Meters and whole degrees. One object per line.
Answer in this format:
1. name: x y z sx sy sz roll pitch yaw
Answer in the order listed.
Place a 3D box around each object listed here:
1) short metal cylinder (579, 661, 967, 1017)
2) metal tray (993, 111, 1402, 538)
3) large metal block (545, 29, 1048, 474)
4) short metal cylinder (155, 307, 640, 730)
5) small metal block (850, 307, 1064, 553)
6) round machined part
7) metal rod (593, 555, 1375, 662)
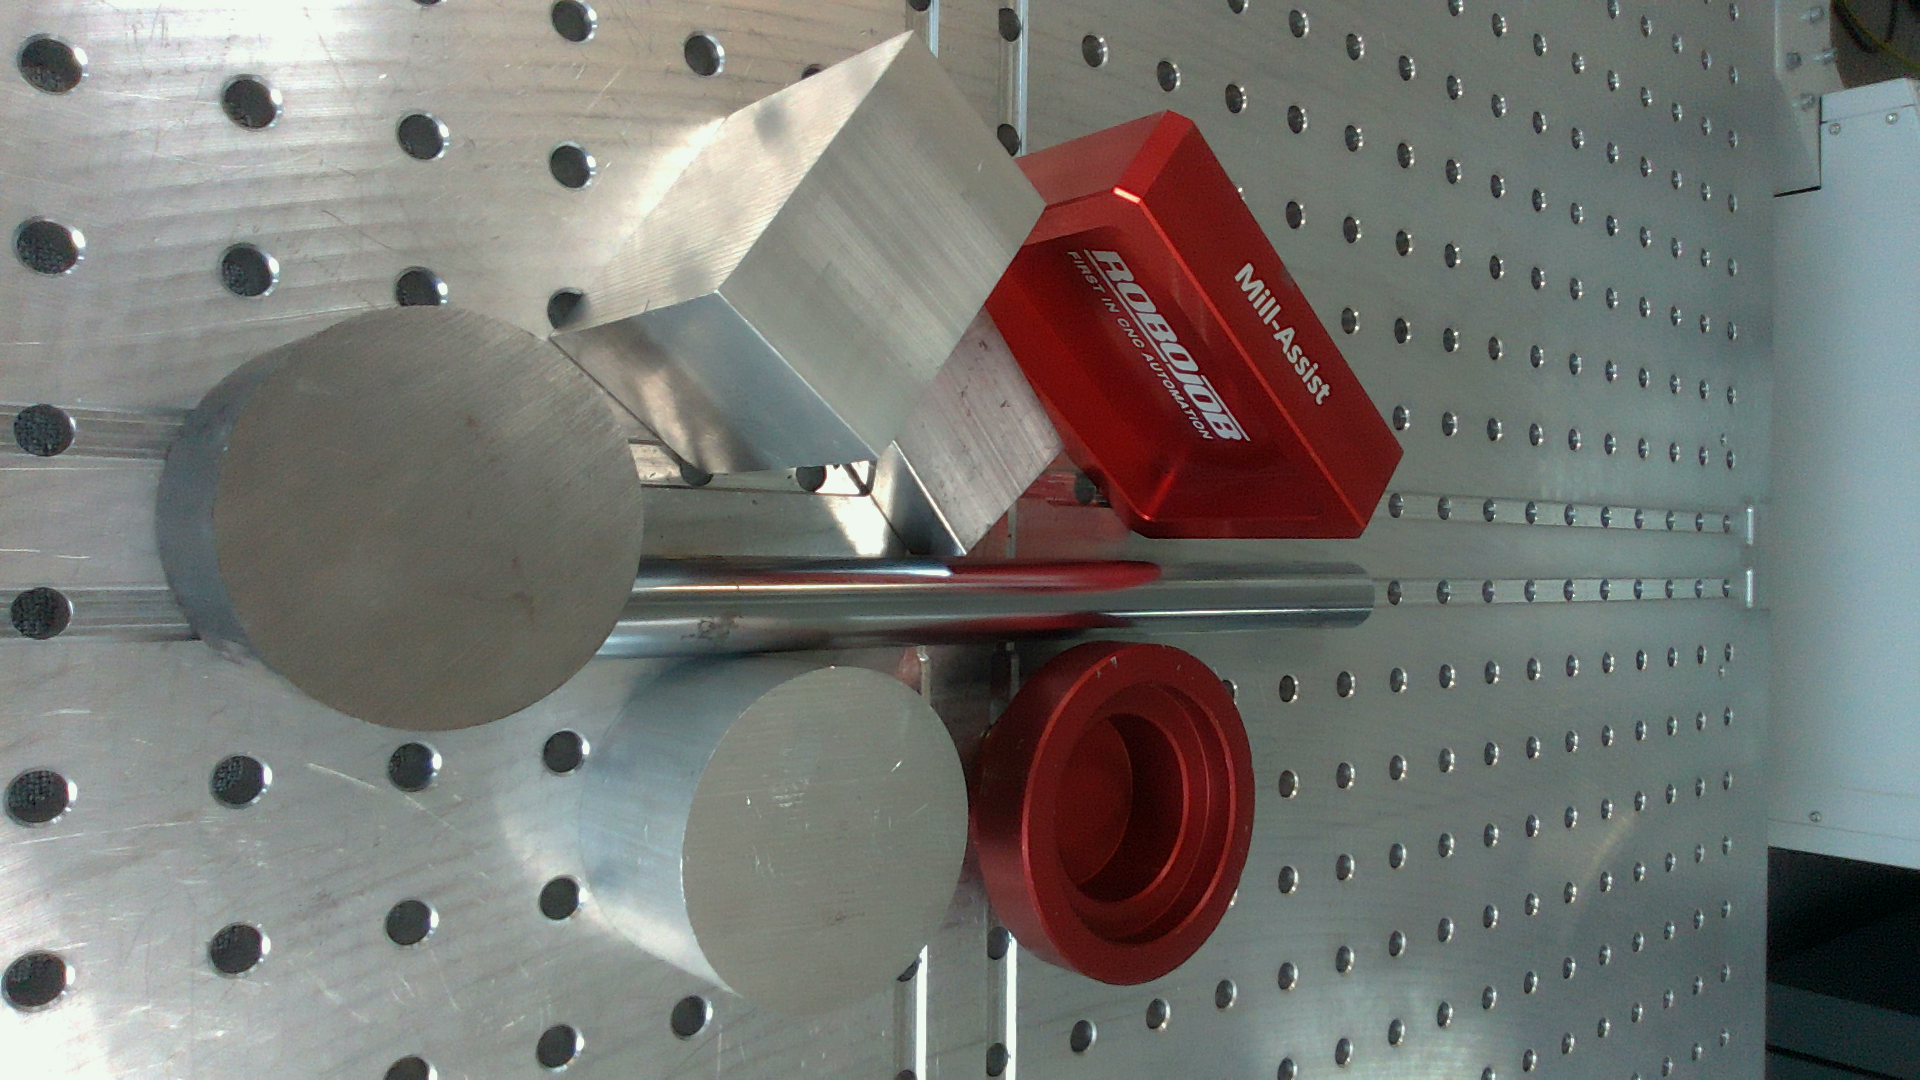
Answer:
1. short metal cylinder: -0.045 0.069 0.337 0.080 0.050 0.080 0 90 -40
2. metal tray: 0.057 -0.053 0.396 0.130 0.090 0.030 48 62 -29
3. large metal block: -0.039 -0.063 0.324 0.050 0.080 0.080 46 62 -31
4. short metal cylinder: -0.113 -0.004 0.280 0.080 0.050 0.080 0 90 -40
5. small metal block: -0.005 -0.032 0.388 0.050 0.025 0.050 -46 118 -30
6. round machined part: 0.041 0.079 0.415 0.098 0.042 0.098 0 90 -40
7. metal rod: 0.028 0.018 0.415 0.301 0.025 0.025 1 89 -40
